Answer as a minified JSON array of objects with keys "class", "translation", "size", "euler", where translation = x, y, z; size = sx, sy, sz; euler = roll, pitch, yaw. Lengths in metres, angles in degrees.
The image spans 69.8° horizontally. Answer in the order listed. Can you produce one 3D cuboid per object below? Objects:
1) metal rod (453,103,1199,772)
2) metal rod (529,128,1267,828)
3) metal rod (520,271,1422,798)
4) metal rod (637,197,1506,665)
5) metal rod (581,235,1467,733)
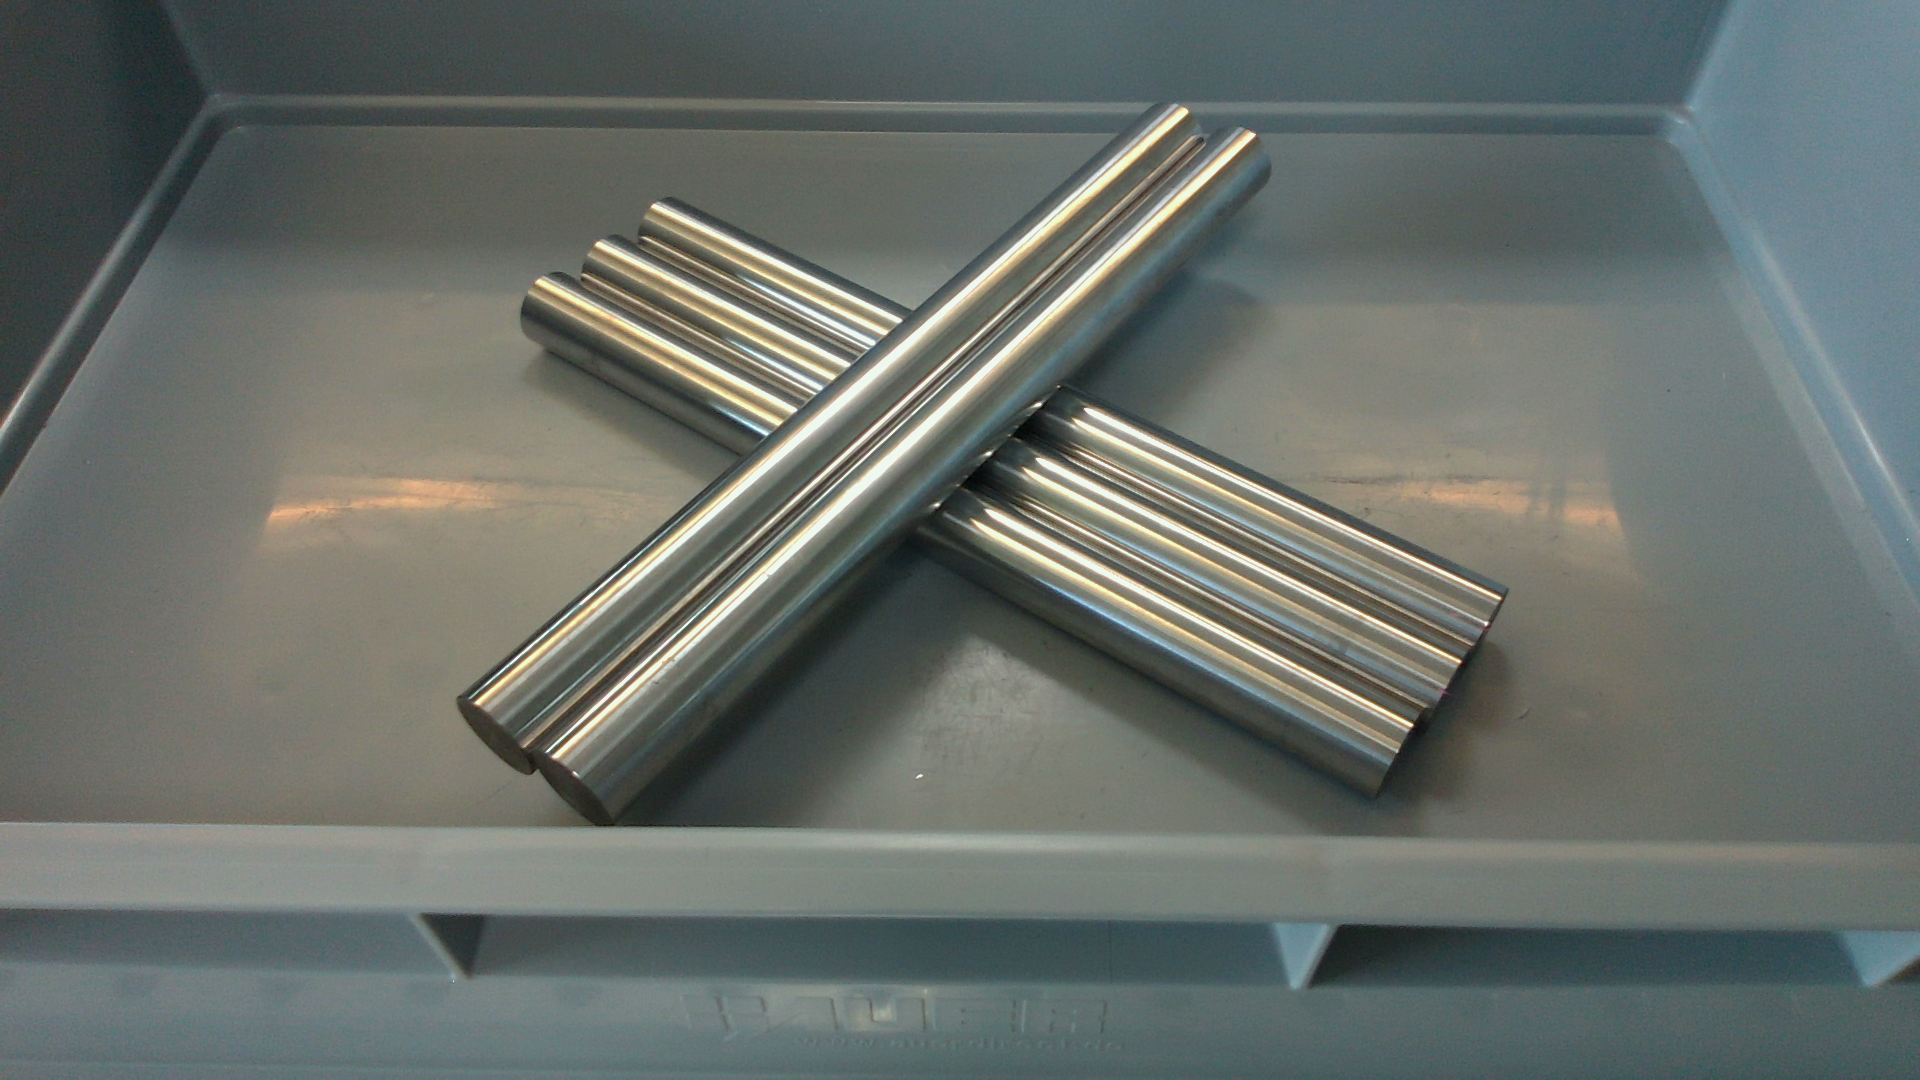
[{"class":"metal rod","translation":[-0.018,-0.047,0.397],"size":[0.025,0.025,0.301],"euler":[30,56,23]},{"class":"metal rod","translation":[0.002,-0.036,0.388],"size":[0.025,0.025,0.301],"euler":[30,56,23]},{"class":"metal rod","translation":[-0.013,-0.012,0.400],"size":[0.299,0.025,0.025],"euler":[28,55,22]},{"class":"metal rod","translation":[0.018,-0.042,0.426],"size":[0.299,0.025,0.025],"euler":[28,55,22]},{"class":"metal rod","translation":[0.003,-0.026,0.412],"size":[0.299,0.025,0.025],"euler":[28,55,22]}]
